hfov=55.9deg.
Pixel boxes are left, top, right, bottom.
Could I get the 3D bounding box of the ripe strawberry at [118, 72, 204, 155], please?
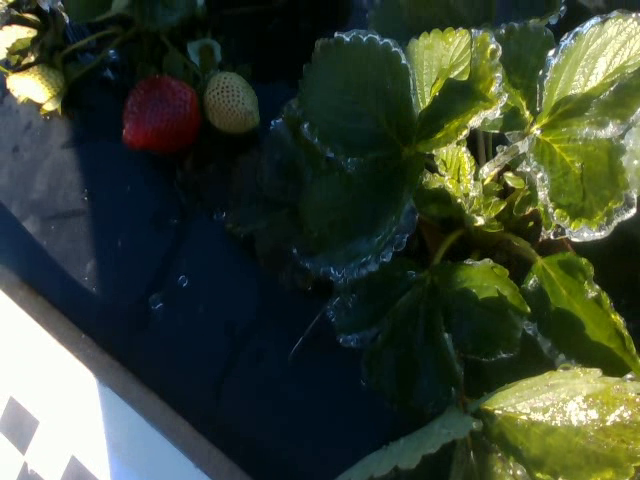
[{"bbox_3d":[-0.079,-0.055,0.280,0.040,0.042,0.053,-4,29,20],"label":"ripe strawberry"}]
